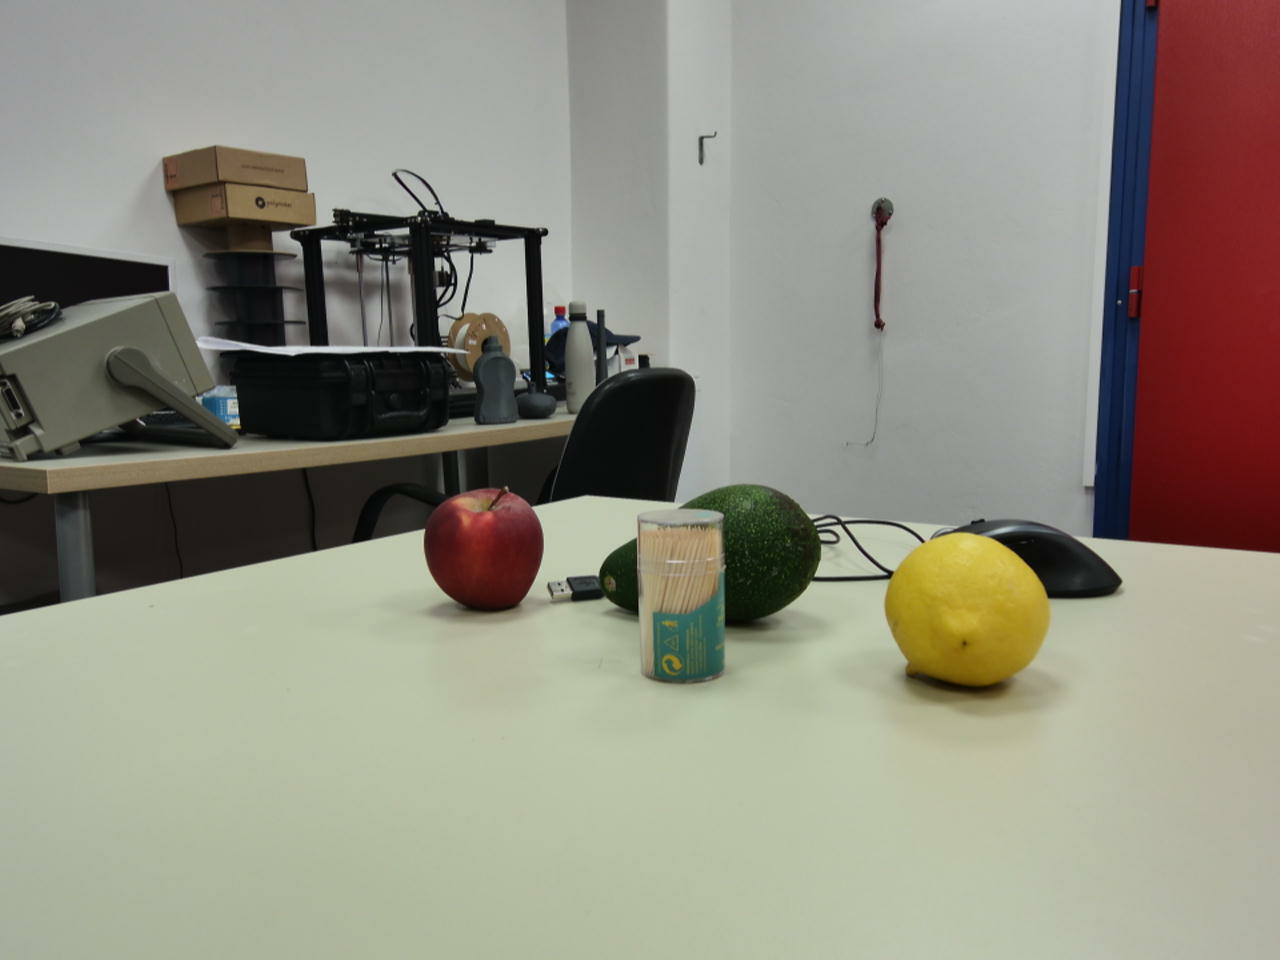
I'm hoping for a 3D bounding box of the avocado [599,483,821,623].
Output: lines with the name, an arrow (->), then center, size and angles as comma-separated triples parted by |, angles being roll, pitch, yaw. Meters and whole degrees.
avocado -> 0.043, 0.039, 0.553 | 0.123, 0.076, 0.074 | 5, 7, 42
